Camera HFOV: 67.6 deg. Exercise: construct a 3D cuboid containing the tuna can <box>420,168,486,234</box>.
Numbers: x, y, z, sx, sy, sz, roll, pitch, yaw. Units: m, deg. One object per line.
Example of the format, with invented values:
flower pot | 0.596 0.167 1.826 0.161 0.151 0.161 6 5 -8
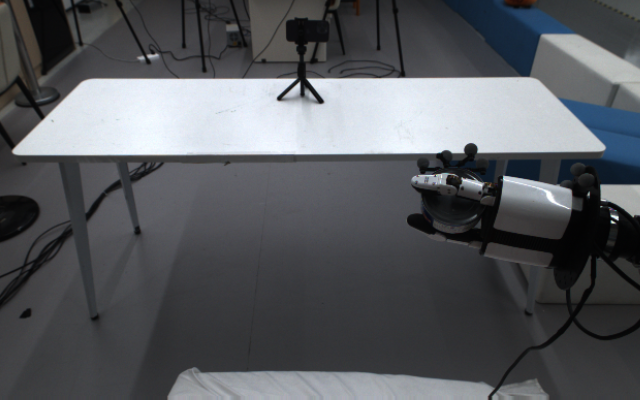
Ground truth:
tuna can | 0.178 -0.001 0.649 0.085 0.034 0.085 -4 61 7
